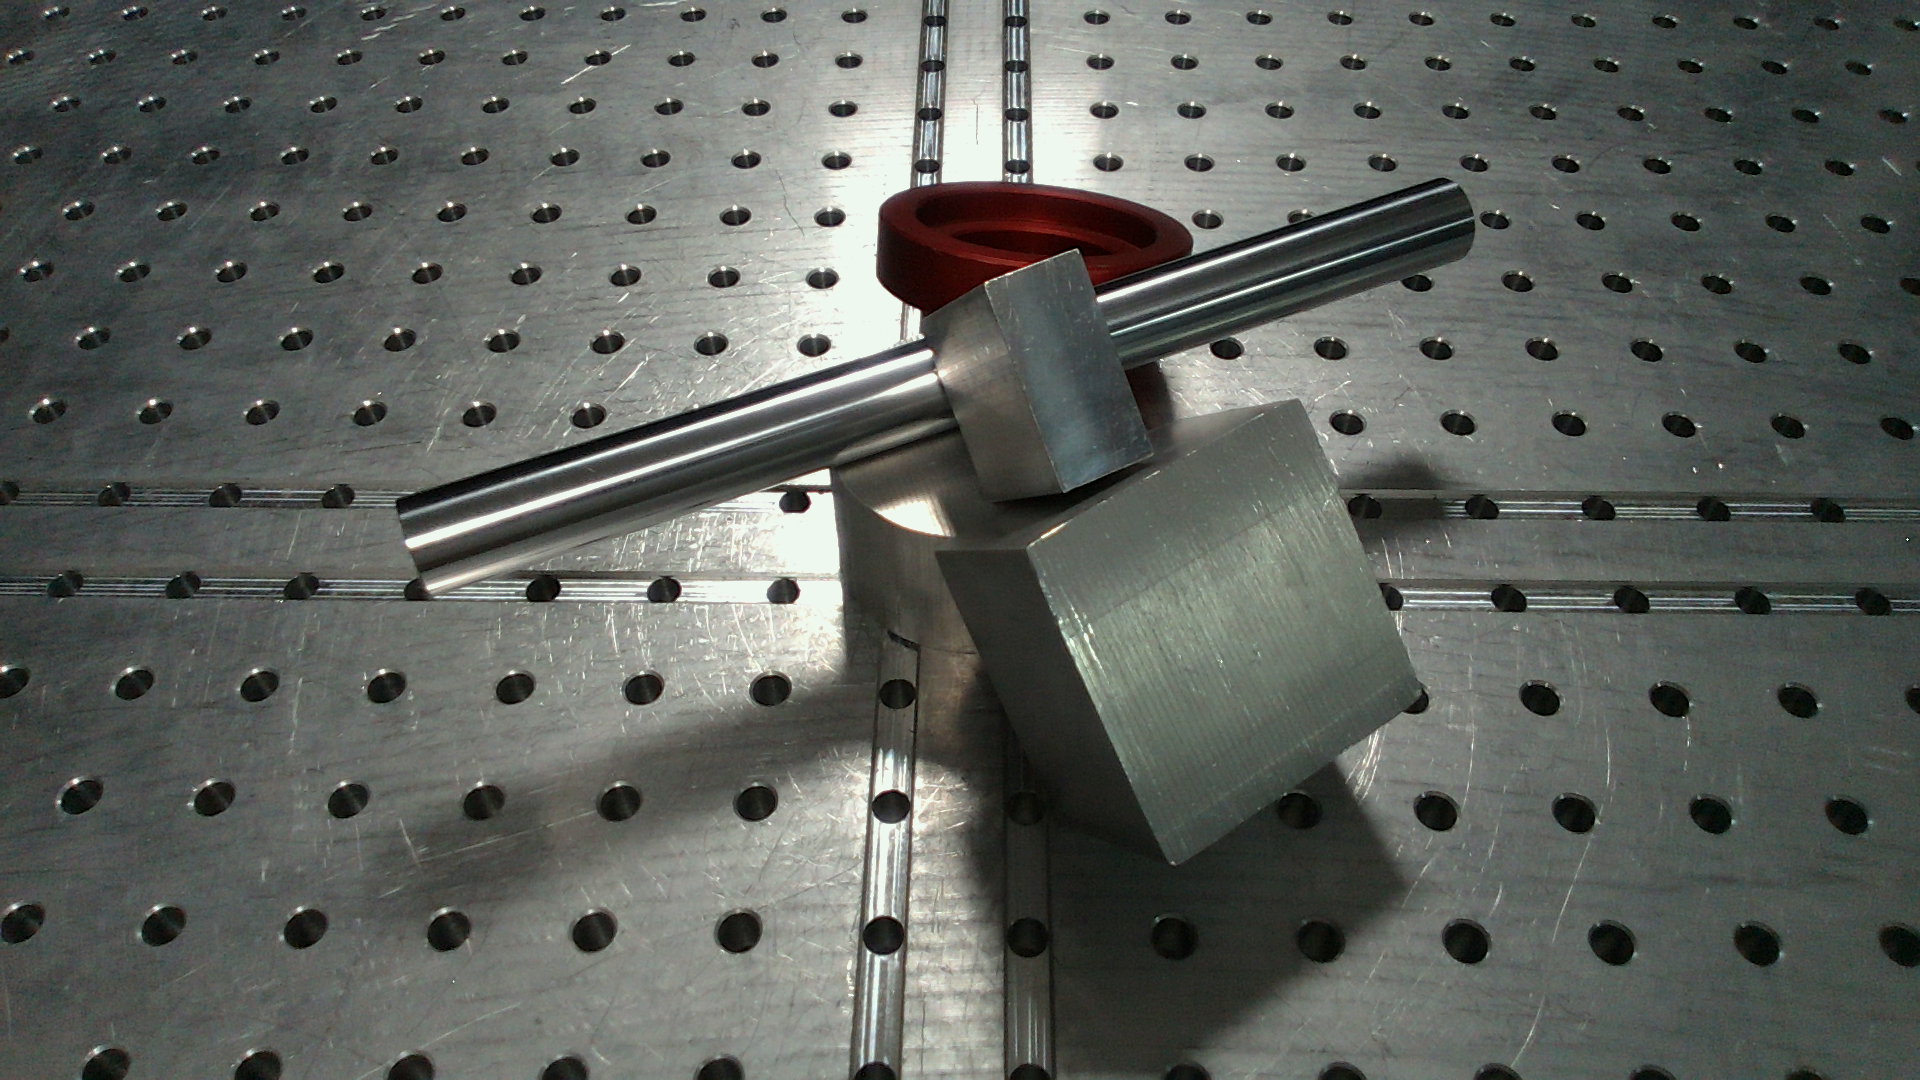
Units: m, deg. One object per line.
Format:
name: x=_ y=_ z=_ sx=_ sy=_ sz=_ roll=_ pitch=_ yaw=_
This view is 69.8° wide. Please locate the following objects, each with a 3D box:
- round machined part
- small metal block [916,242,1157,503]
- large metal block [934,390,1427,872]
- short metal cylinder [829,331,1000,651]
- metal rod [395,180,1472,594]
round machined part: x=0.022 y=-0.081 z=0.437 sx=0.098 sy=0.042 sz=0.098 roll=5 pitch=27 yaw=-2
small metal block: x=0.017 y=-0.038 z=0.331 sx=0.025 sy=0.050 sz=0.050 roll=-23 pitch=95 yaw=-18
large metal block: x=0.053 y=0.020 z=0.332 sx=0.080 sy=0.050 sz=0.080 roll=-29 pitch=100 yaw=-22
short metal cylinder: x=0.003 y=-0.016 z=0.391 sx=0.080 sy=0.050 sz=0.080 roll=0 pitch=50 yaw=0
metal rod: x=0.007 y=-0.047 z=0.368 sx=0.301 sy=0.025 sz=0.025 roll=-19 pitch=52 yaw=-16
